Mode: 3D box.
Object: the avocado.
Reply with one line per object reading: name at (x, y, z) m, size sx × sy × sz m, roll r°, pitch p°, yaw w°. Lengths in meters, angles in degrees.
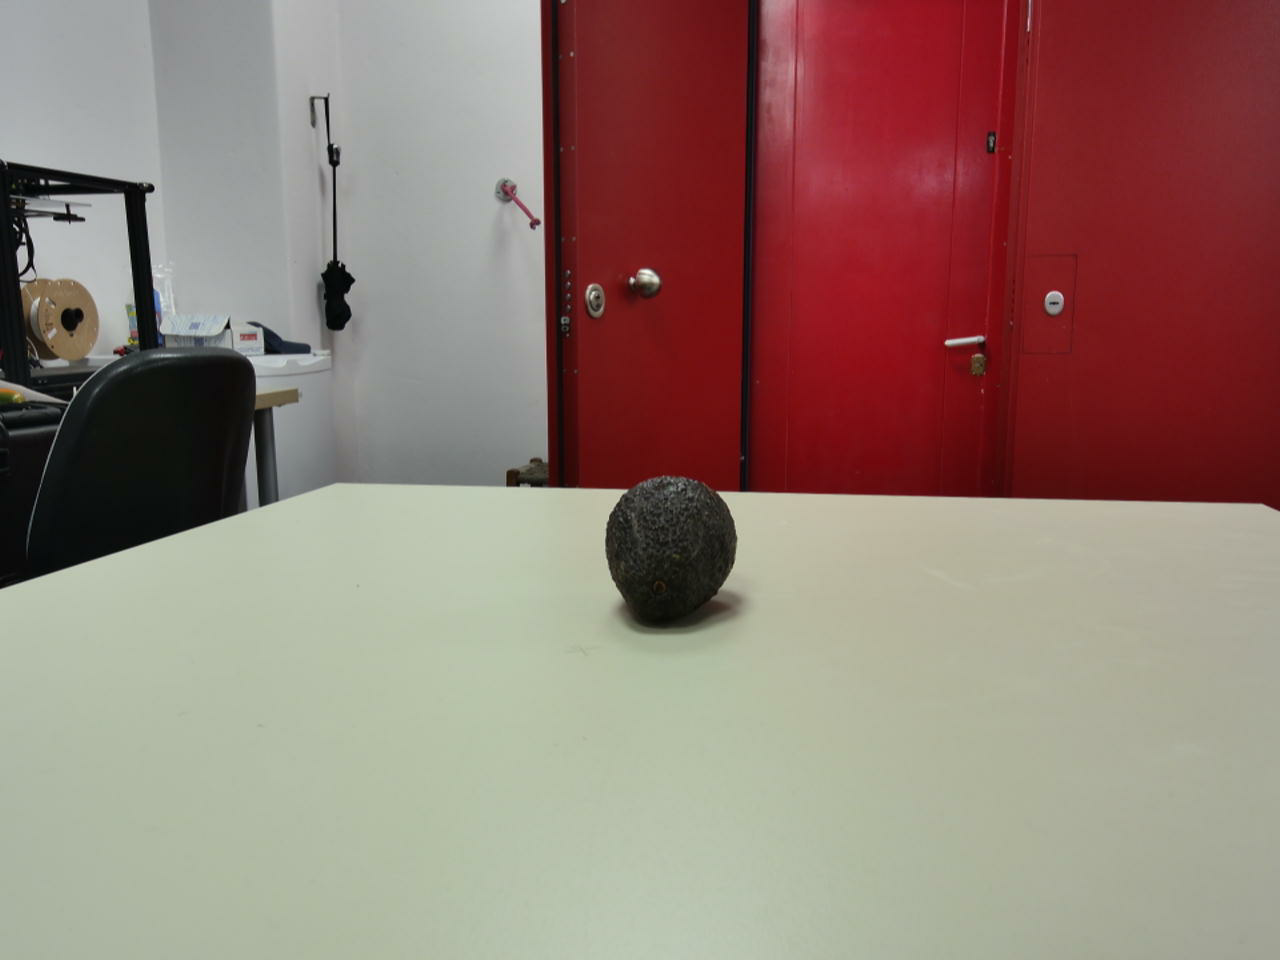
avocado at (0.013, 0.033, 0.523) m, size 0.070 × 0.069 × 0.090 m, roll 6°, pitch 8°, yaw 37°
